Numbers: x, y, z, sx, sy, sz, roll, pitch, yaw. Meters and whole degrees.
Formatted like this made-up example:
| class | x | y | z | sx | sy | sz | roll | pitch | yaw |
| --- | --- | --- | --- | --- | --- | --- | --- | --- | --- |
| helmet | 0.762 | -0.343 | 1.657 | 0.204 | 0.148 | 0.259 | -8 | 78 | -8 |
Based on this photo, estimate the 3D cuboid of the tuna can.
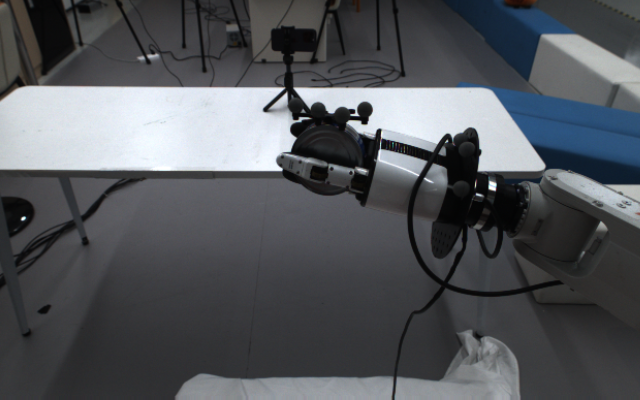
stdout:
| class | x | y | z | sx | sy | sz | roll | pitch | yaw |
| --- | --- | --- | --- | --- | --- | --- | --- | --- | --- |
| tuna can | 0.011 | -0.052 | 0.573 | 0.085 | 0.085 | 0.034 | 9 | 23 | 10 |
